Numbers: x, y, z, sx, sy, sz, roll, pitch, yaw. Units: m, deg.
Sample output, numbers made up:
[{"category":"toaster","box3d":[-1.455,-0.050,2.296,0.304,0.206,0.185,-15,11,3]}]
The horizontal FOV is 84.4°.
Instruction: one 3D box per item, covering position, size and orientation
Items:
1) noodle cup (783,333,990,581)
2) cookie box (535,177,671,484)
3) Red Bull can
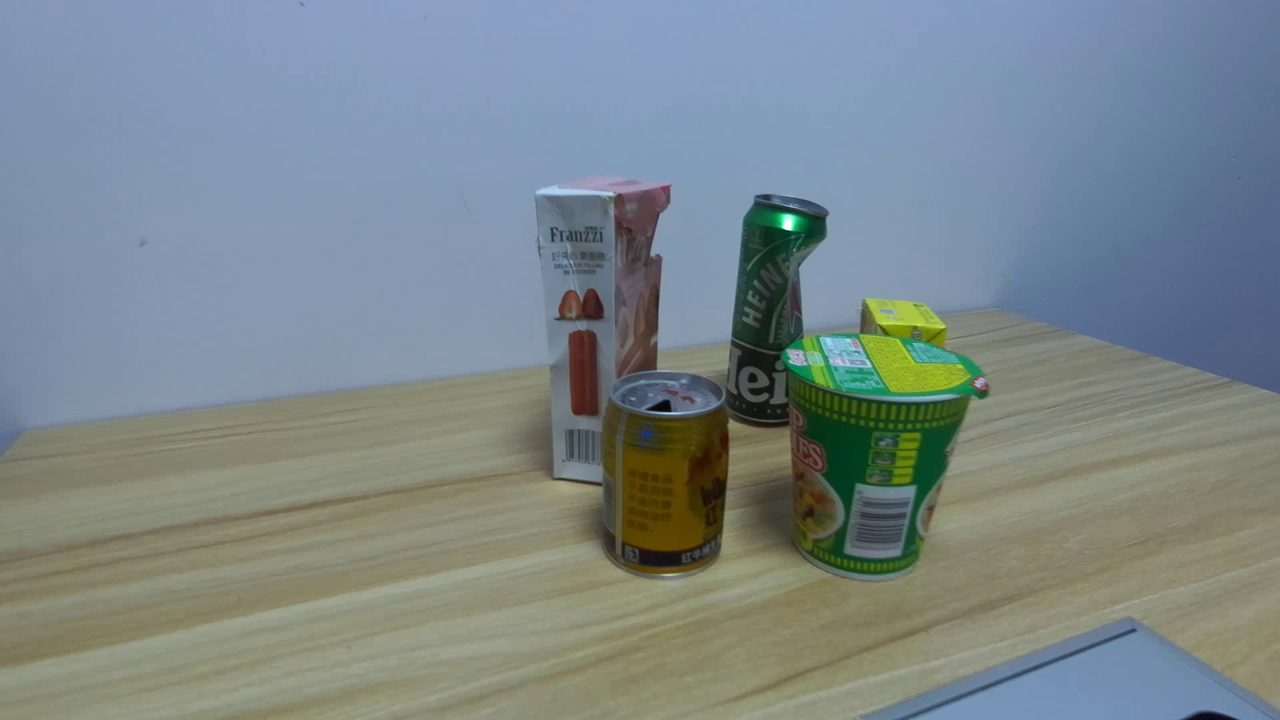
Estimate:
[{"category":"noodle cup","box3d":[0.119,0.051,0.372,0.097,0.110,0.097,1,19,0]},{"category":"cookie box","box3d":[-0.023,-0.021,0.463,0.059,0.186,0.105,9,21,16]},{"category":"Red Bull can","box3d":[0.014,0.059,0.377,0.068,0.093,0.068,0,19,0]}]
